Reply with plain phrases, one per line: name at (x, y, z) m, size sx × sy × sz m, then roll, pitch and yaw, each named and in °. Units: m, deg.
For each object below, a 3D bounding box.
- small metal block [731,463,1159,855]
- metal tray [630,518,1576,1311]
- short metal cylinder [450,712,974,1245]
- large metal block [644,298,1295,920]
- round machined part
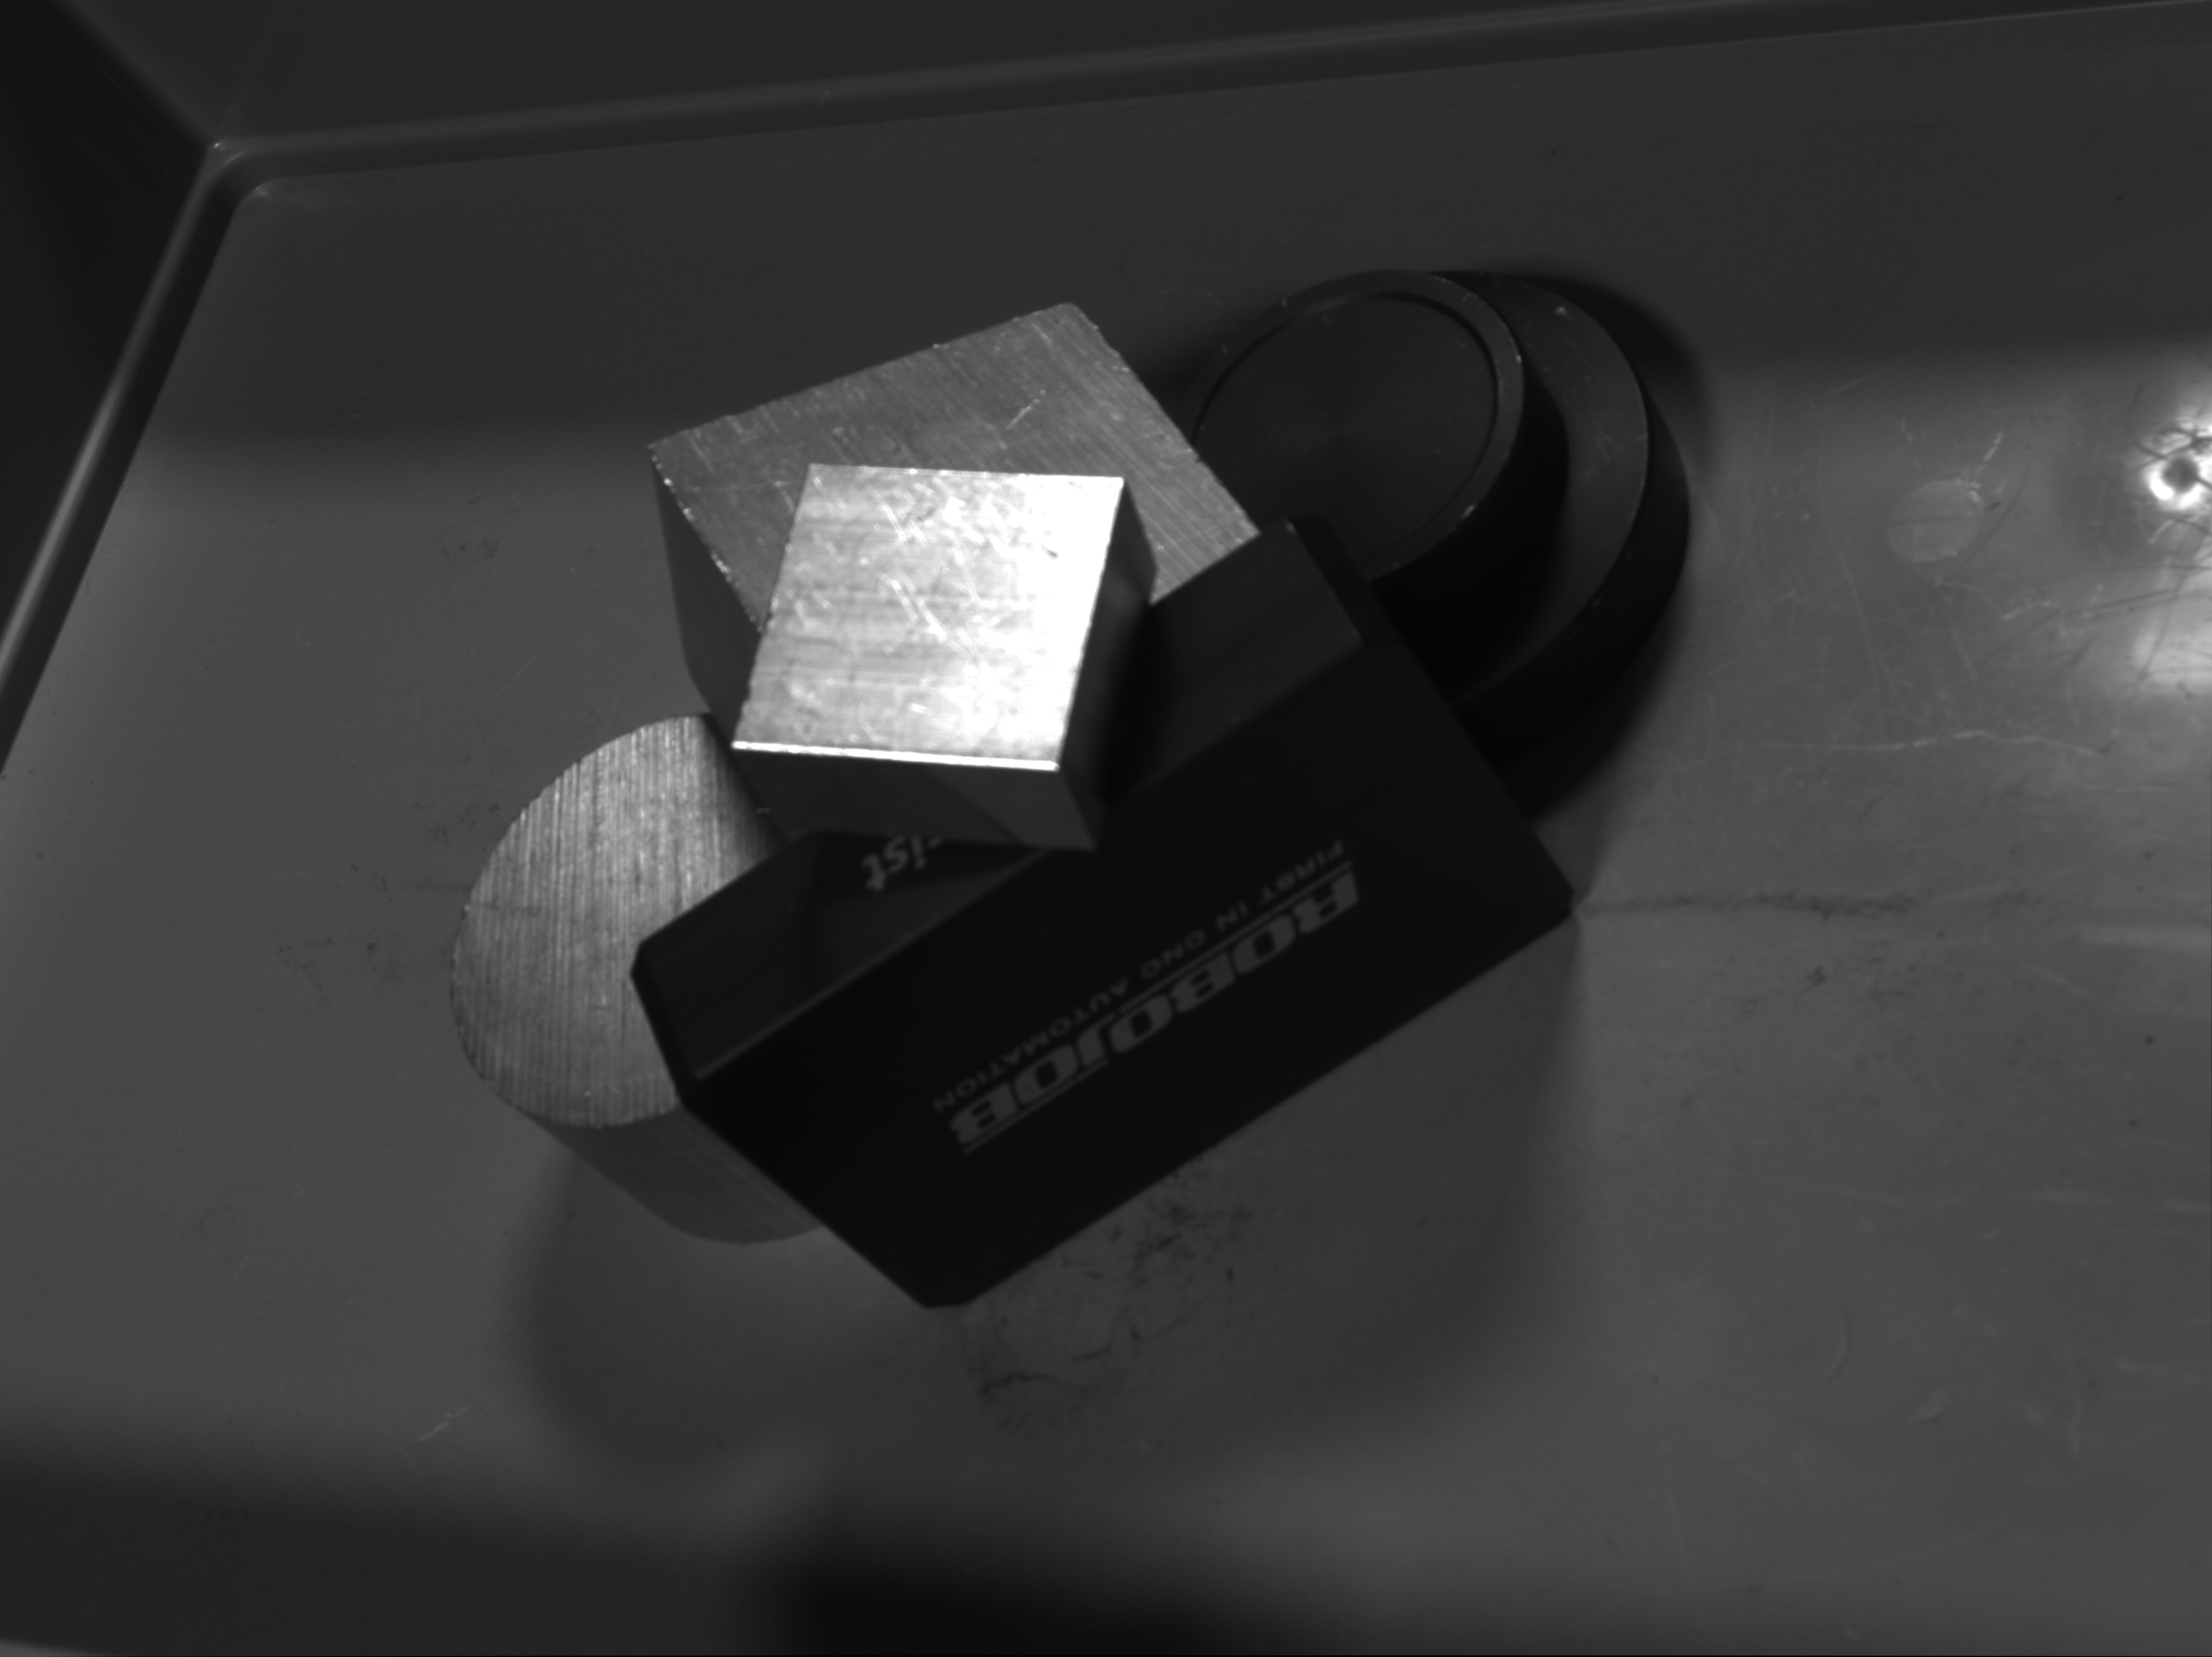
small metal block at (-0.023, -0.026, 0.548) m, size 0.050 × 0.025 × 0.050 m, roll 4°, pitch 62°, yaw 16°
metal tray at (0.001, 0.017, 0.589) m, size 0.130 × 0.090 × 0.030 m, roll -33°, pitch 50°, yaw 6°
short metal cylinder at (-0.068, 0.027, 0.647) m, size 0.080 × 0.050 × 0.080 m, roll -13°, pitch 56°, yaw 21°
large metal block at (-0.022, -0.035, 0.614) m, size 0.080 × 0.050 × 0.080 m, roll -21°, pitch 49°, yaw -16°
round machined part at (0.049, -0.058, 0.641) m, size 0.098 × 0.042 × 0.098 m, roll -13°, pitch 56°, yaw 21°
